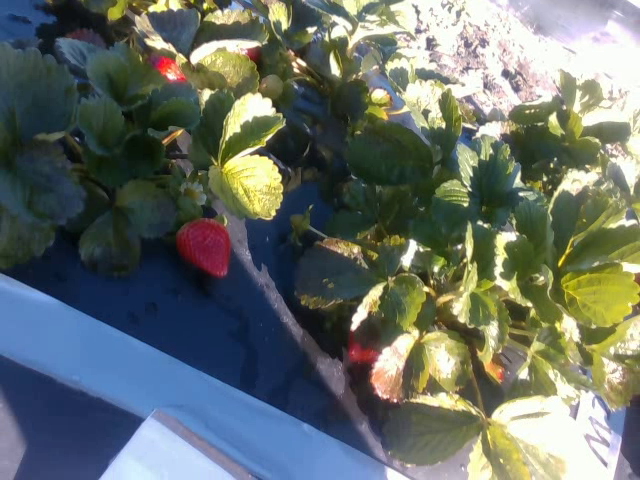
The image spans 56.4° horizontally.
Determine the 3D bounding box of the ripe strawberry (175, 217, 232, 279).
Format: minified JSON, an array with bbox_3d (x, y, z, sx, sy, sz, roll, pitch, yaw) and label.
[{"bbox_3d":[-0.083,0.007,0.444,0.045,0.059,0.042,-25,-18,-1],"label":"ripe strawberry"}]
